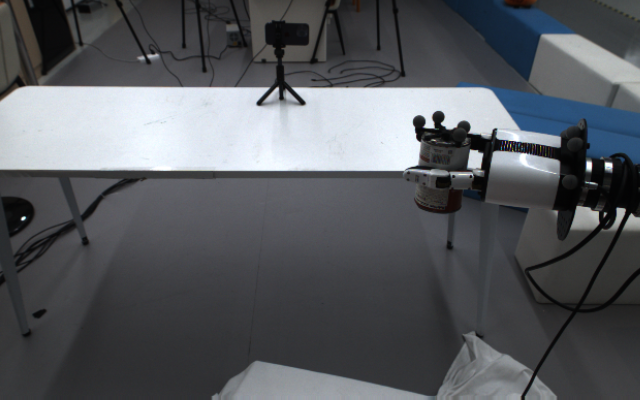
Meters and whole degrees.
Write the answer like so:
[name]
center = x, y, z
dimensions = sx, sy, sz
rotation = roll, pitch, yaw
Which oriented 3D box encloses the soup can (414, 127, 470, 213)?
[soup can]
center = 0.172, -0.041, 0.681
dimensions = 0.067, 0.101, 0.067
rotation = 1, 26, 0
